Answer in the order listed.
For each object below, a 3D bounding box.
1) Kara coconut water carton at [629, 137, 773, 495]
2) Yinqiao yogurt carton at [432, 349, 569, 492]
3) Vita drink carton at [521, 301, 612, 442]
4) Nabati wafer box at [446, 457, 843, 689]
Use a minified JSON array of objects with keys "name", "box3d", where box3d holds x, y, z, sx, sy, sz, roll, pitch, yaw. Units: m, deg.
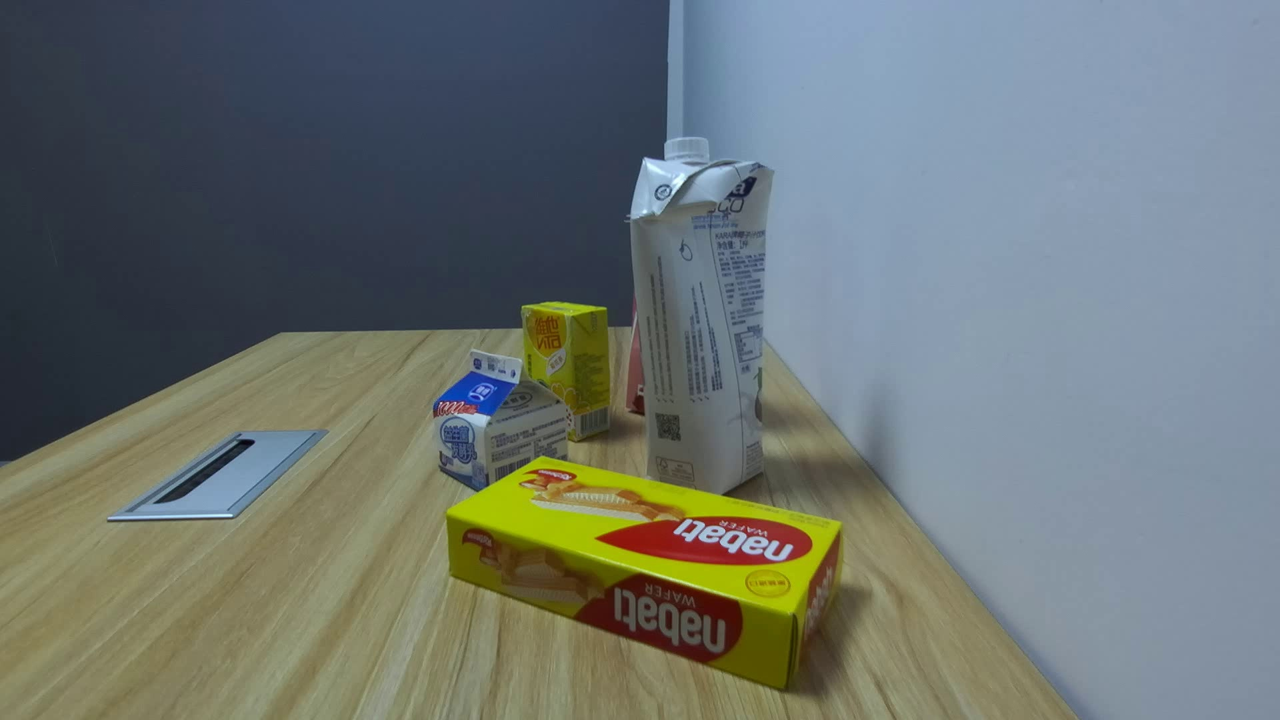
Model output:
[{"name":"Kara coconut water carton","box3d":[0.047,-0.029,0.491,0.069,0.238,0.115,10,19,40]},{"name":"Yinqiao yogurt carton","box3d":[-0.105,0.039,0.528,0.074,0.092,0.075,-16,20,-42]},{"name":"Vita drink carton","box3d":[-0.066,0.006,0.610,0.076,0.109,0.043,14,21,41]},{"name":"Nabati wafer box","box3d":[-0.001,0.103,0.386,0.202,0.042,0.093,8,18,28]}]
